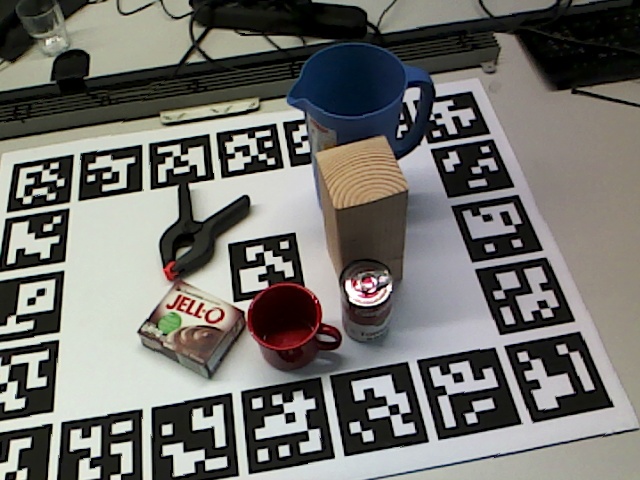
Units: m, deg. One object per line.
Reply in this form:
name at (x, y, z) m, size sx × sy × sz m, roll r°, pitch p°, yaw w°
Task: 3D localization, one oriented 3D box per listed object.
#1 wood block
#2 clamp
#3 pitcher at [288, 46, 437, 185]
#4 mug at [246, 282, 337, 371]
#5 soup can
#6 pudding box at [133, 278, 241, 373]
wood block at (0.057, -0.024, 0.796) m, size 0.090 × 0.205 × 0.091 m, roll -9°, pitch 54°, yaw -6°
clamp at (-0.177, -0.016, 0.927) m, size 0.122 × 0.036 × 0.165 m, roll 19°, pitch 59°, yaw 10°
pitcher at (0.065, -0.134, 0.854) m, size 0.189 × 0.241 × 0.134 m, roll -11°, pitch 52°, yaw 1°
mug at (-0.032, 0.118, 0.783) m, size 0.118 × 0.081 × 0.093 m, roll 21°, pitch 57°, yaw 20°
soup can at (0.056, 0.081, 0.786) m, size 0.068 × 0.101 × 0.068 m, roll -2°, pitch 57°, yaw 3°
pudding box at (-0.177, 0.114, 0.829) m, size 0.114 × 0.038 × 0.090 m, roll 23°, pitch 63°, yaw 21°
